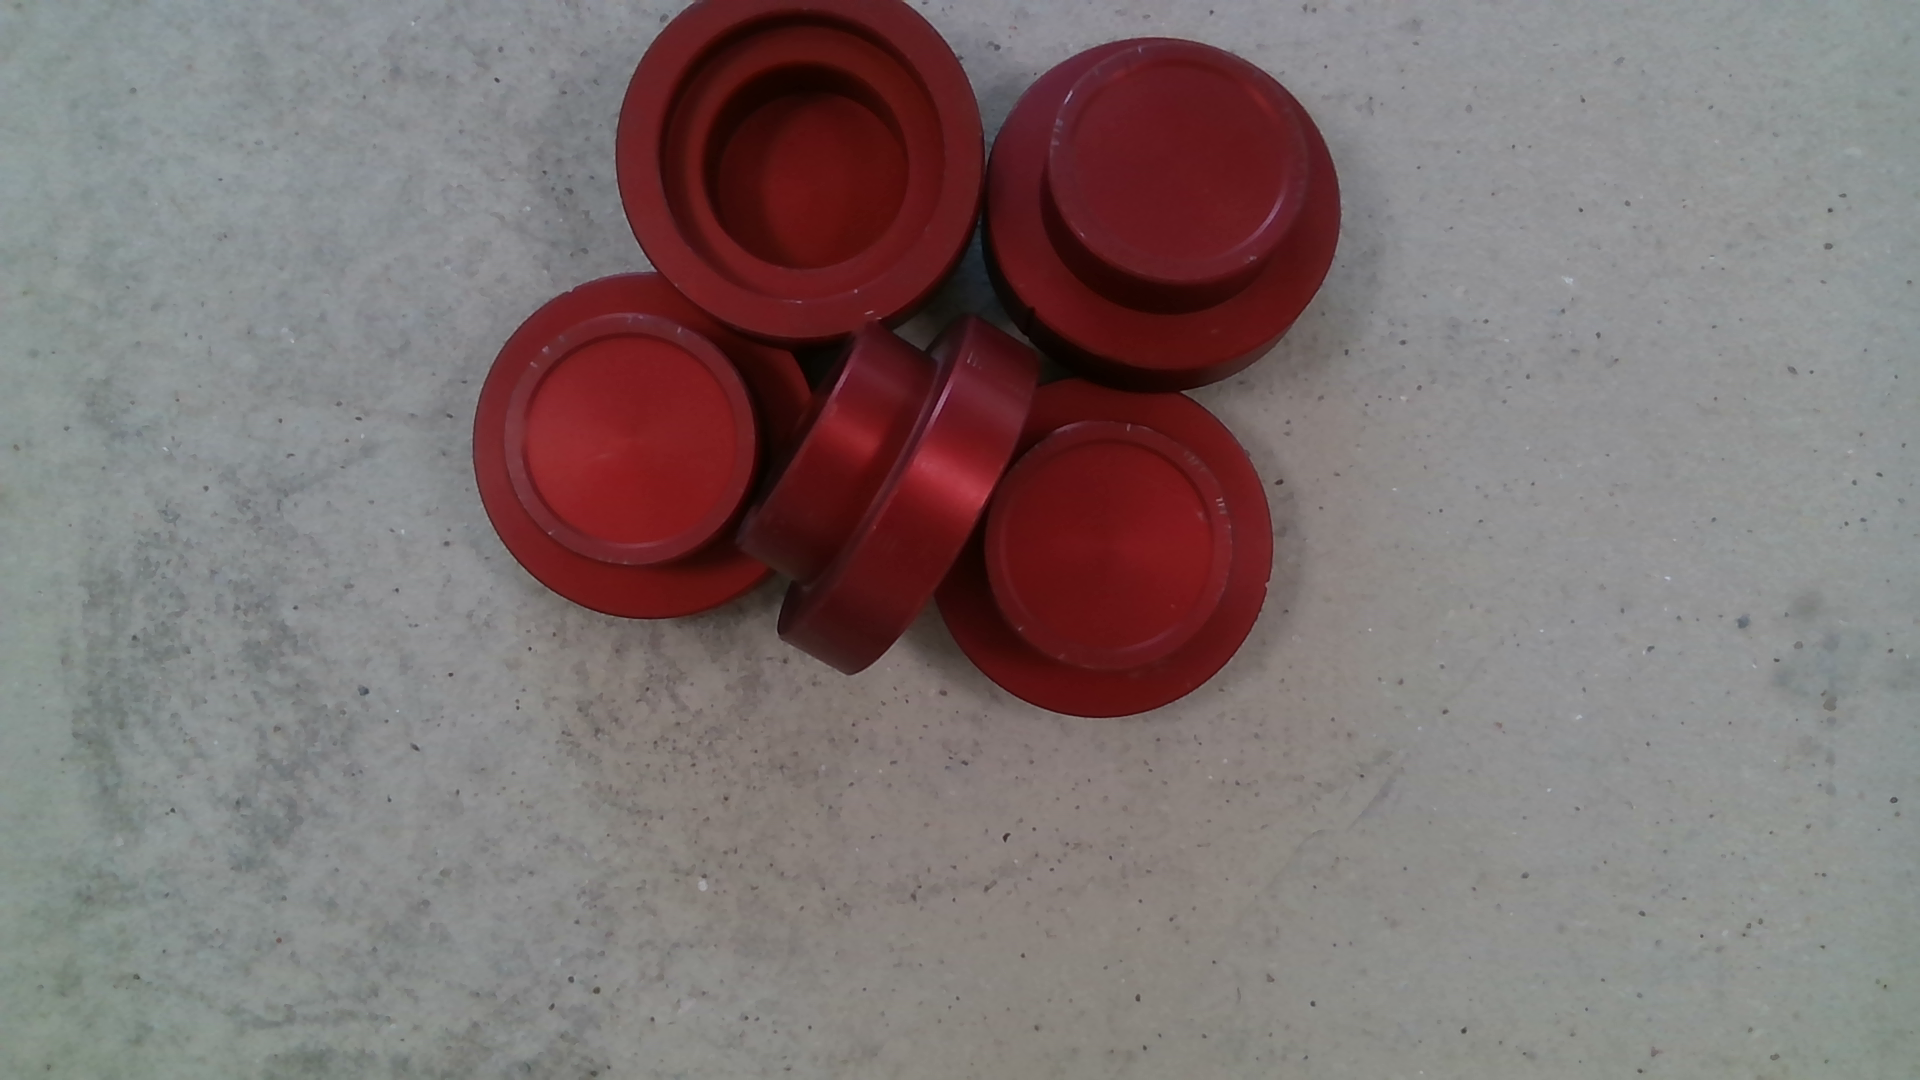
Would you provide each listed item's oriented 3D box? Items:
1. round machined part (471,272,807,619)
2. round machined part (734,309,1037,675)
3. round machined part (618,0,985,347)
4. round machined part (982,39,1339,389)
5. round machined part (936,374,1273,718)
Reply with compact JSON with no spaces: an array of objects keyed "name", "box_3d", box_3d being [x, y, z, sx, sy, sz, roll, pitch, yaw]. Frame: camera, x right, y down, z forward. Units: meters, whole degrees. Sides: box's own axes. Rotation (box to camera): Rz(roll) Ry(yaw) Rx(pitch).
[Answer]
[{"name":"round machined part","box_3d":[-0.088,-0.027,0.387,0.098,0.042,0.098,0,91,-2]},{"name":"round machined part","box_3d":[-0.024,-0.018,0.356,0.042,0.098,0.098,29,90,-13]},{"name":"round machined part","box_3d":[-0.042,-0.102,0.387,0.098,0.042,0.098,0,90,1]},{"name":"round machined part","box_3d":[0.055,-0.094,0.376,0.098,0.042,0.098,0,77,-2]},{"name":"round machined part","box_3d":[0.040,0.001,0.387,0.098,0.042,0.098,0,91,-1]}]
